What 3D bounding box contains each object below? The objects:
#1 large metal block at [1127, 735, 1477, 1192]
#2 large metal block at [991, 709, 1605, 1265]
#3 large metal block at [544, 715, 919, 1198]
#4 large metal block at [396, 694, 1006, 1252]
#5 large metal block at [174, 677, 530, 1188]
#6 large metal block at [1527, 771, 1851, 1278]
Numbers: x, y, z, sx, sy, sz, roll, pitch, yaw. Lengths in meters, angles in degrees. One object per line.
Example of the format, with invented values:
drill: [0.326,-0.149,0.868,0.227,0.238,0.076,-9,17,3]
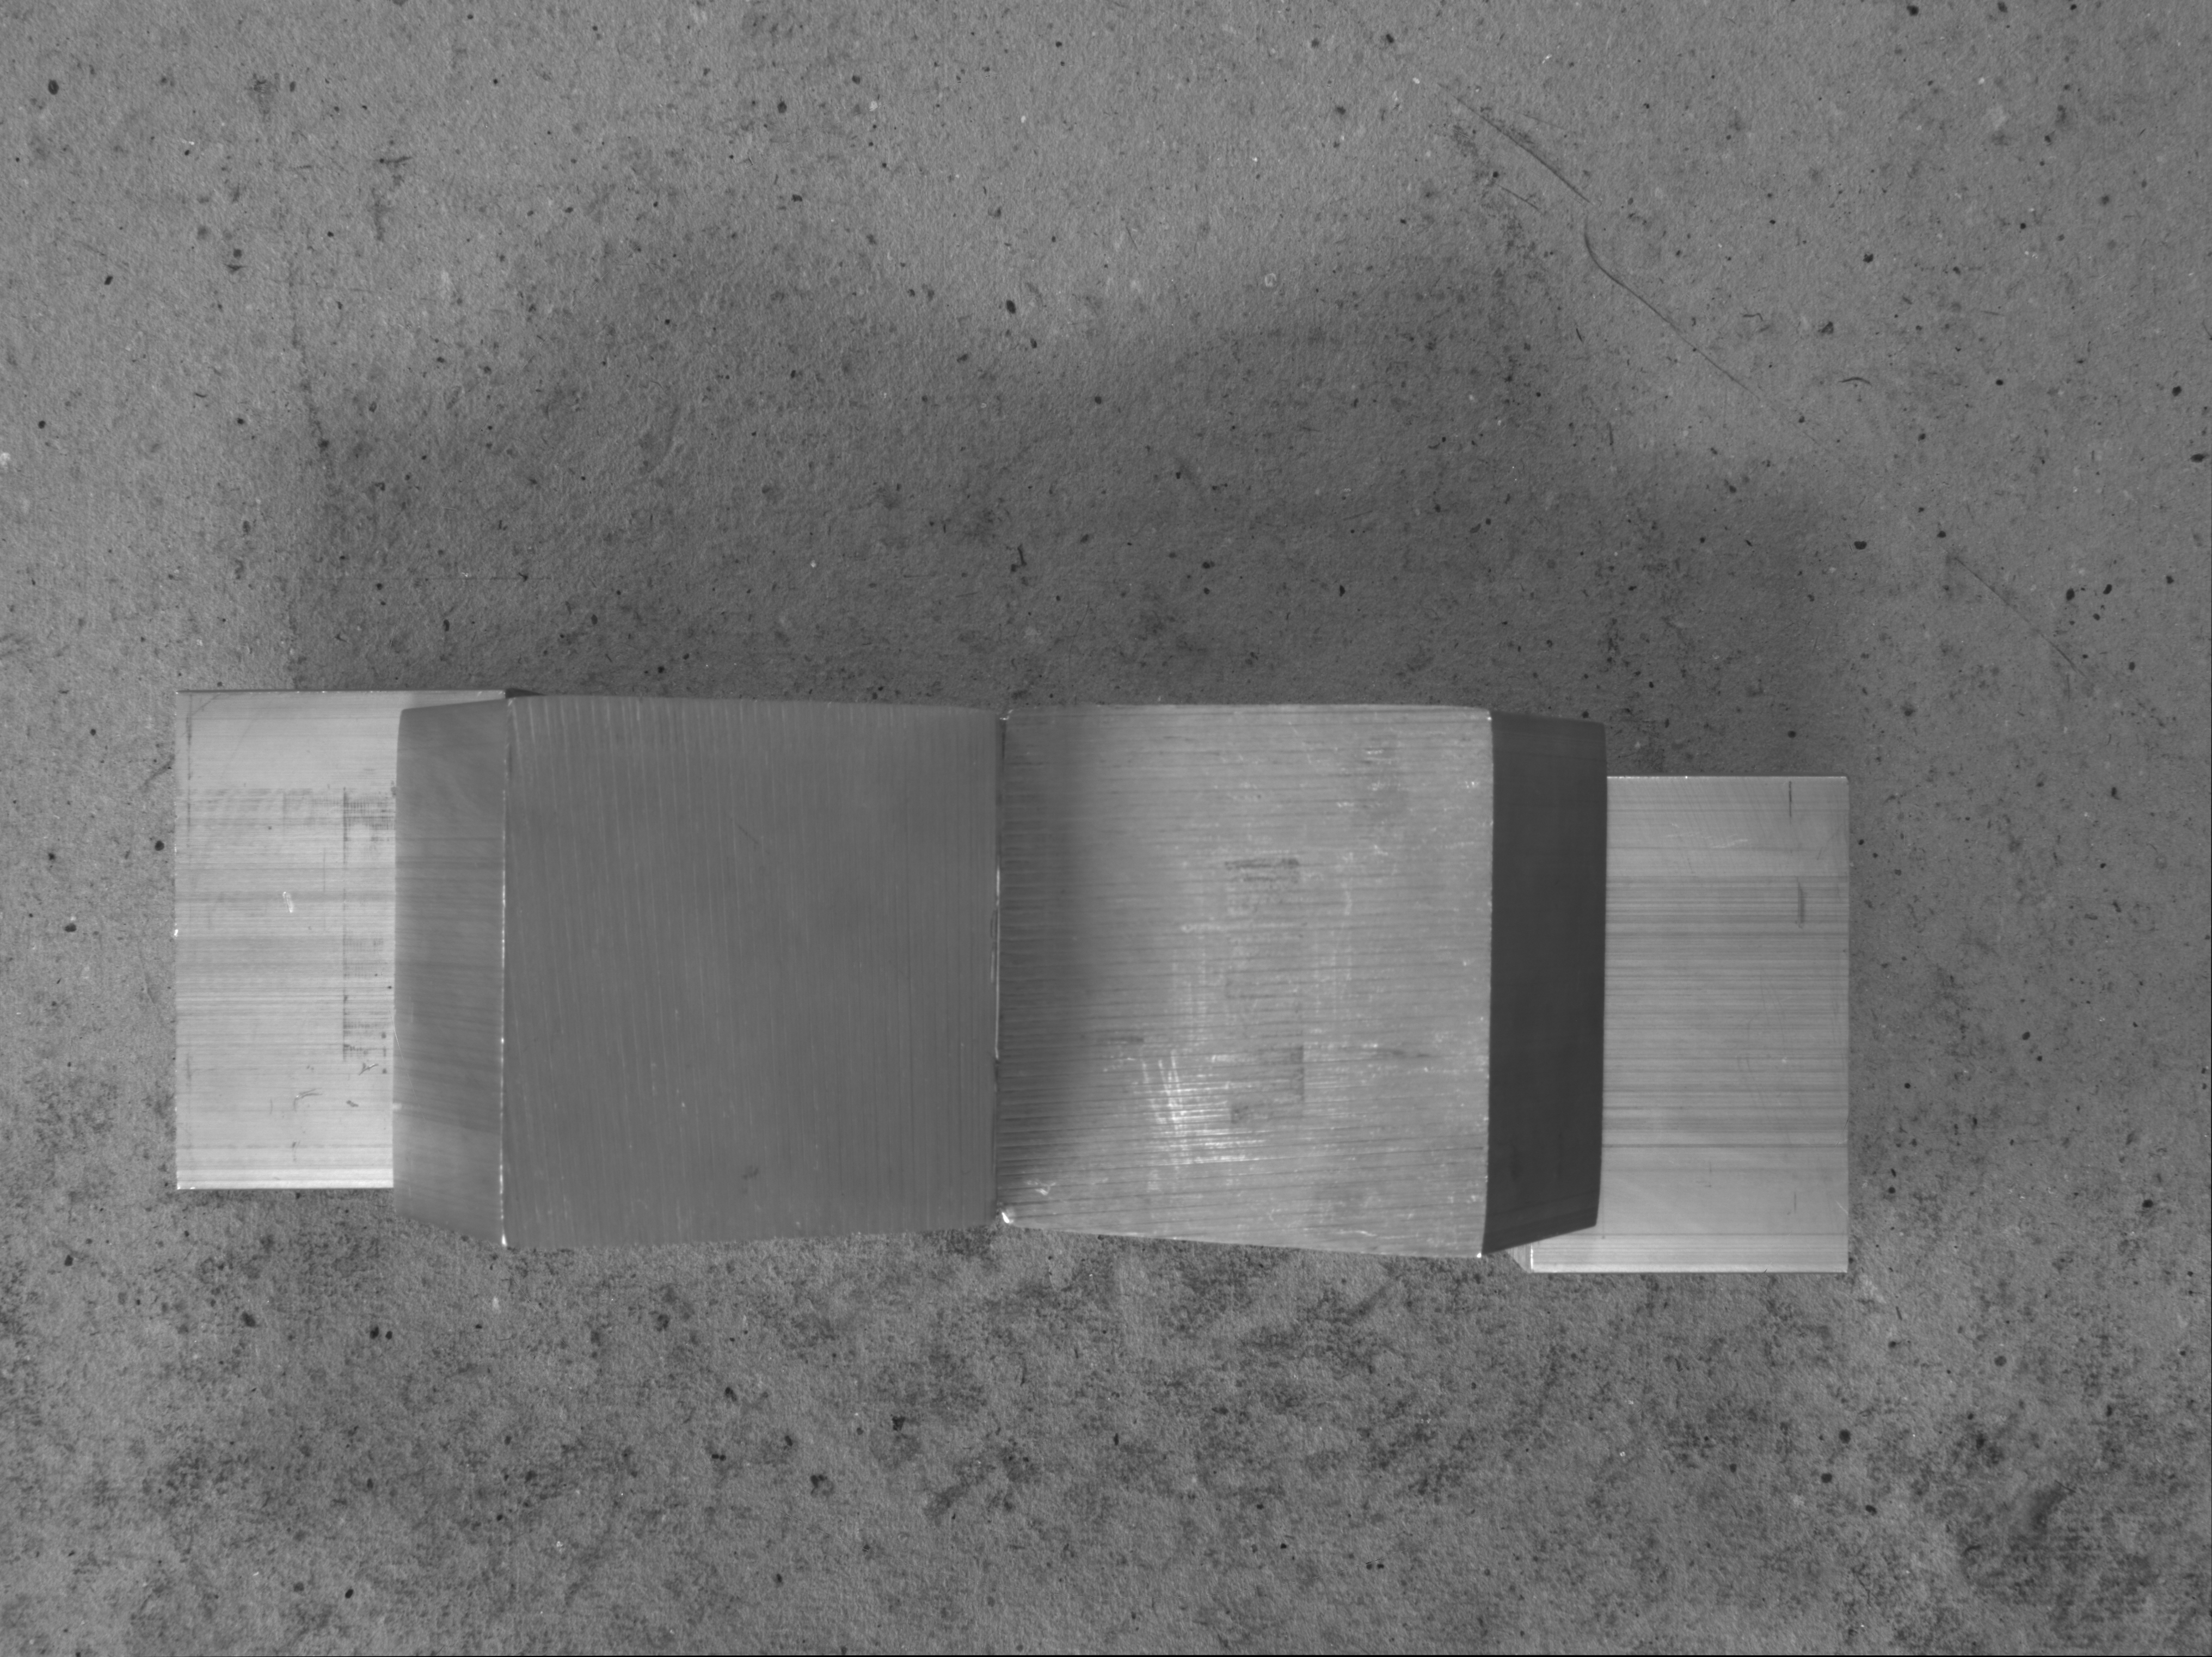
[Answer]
large metal block: [0.027,0.025,0.632,0.080,0.050,0.080,0,90,0]
large metal block: [0.030,0.023,0.567,0.080,0.050,0.080,1,90,27]
large metal block: [-0.054,0.021,0.632,0.080,0.050,0.080,0,90,0]
large metal block: [-0.063,0.021,0.567,0.080,0.050,0.080,1,89,-29]
large metal block: [-0.121,0.017,0.617,0.050,0.080,0.080,0,89,1]
large metal block: [0.093,0.031,0.619,0.050,0.080,0.080,0,90,-1]
